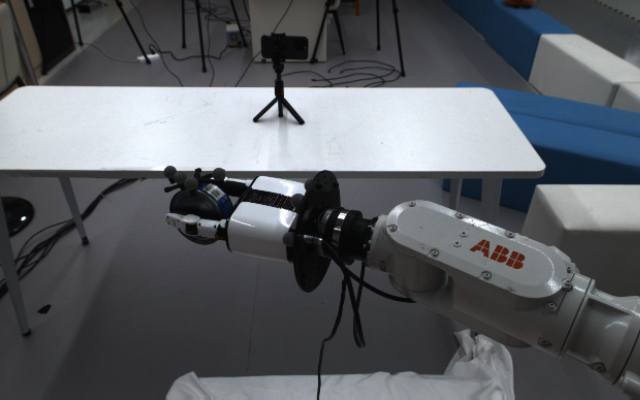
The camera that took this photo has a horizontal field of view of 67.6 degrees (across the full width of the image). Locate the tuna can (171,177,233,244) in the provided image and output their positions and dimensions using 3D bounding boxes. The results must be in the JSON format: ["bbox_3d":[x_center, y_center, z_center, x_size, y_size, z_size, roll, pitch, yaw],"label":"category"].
[{"bbox_3d":[-0.162,0.018,0.672,0.085,0.085,0.034,14,29,17],"label":"tuna can"}]
